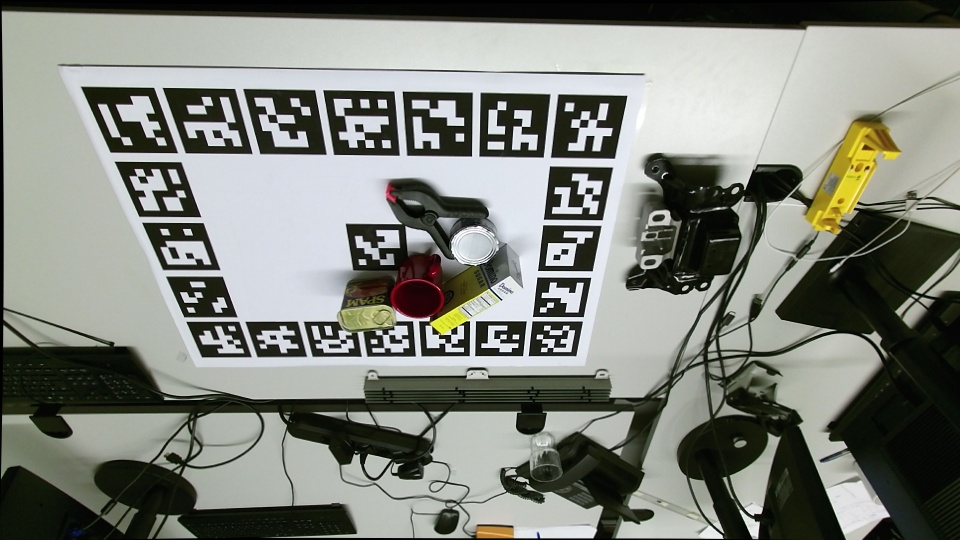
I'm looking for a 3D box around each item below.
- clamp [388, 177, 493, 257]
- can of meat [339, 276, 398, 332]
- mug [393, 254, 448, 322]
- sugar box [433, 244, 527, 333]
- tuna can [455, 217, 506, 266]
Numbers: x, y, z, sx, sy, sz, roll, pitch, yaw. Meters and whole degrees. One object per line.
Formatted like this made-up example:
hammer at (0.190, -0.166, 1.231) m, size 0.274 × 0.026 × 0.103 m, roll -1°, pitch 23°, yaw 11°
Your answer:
clamp at (-0.077, -0.099, 0.885) m, size 0.165 × 0.036 × 0.122 m, roll 32°, pitch 123°, yaw -17°
can of meat at (-0.197, 0.060, 0.967) m, size 0.102 × 0.083 × 0.058 m, roll -6°, pitch 127°, yaw 4°
mug at (-0.096, 0.023, 0.934) m, size 0.093 × 0.081 × 0.117 m, roll 21°, pitch 121°, yaw -15°
sugar box at (-0.003, 0.033, 0.948) m, size 0.177 × 0.092 × 0.045 m, roll -32°, pitch 122°, yaw 21°
tuna can at (0.000, -0.051, 0.915) m, size 0.086 × 0.033 × 0.086 m, roll -1°, pitch 124°, yaw -1°
